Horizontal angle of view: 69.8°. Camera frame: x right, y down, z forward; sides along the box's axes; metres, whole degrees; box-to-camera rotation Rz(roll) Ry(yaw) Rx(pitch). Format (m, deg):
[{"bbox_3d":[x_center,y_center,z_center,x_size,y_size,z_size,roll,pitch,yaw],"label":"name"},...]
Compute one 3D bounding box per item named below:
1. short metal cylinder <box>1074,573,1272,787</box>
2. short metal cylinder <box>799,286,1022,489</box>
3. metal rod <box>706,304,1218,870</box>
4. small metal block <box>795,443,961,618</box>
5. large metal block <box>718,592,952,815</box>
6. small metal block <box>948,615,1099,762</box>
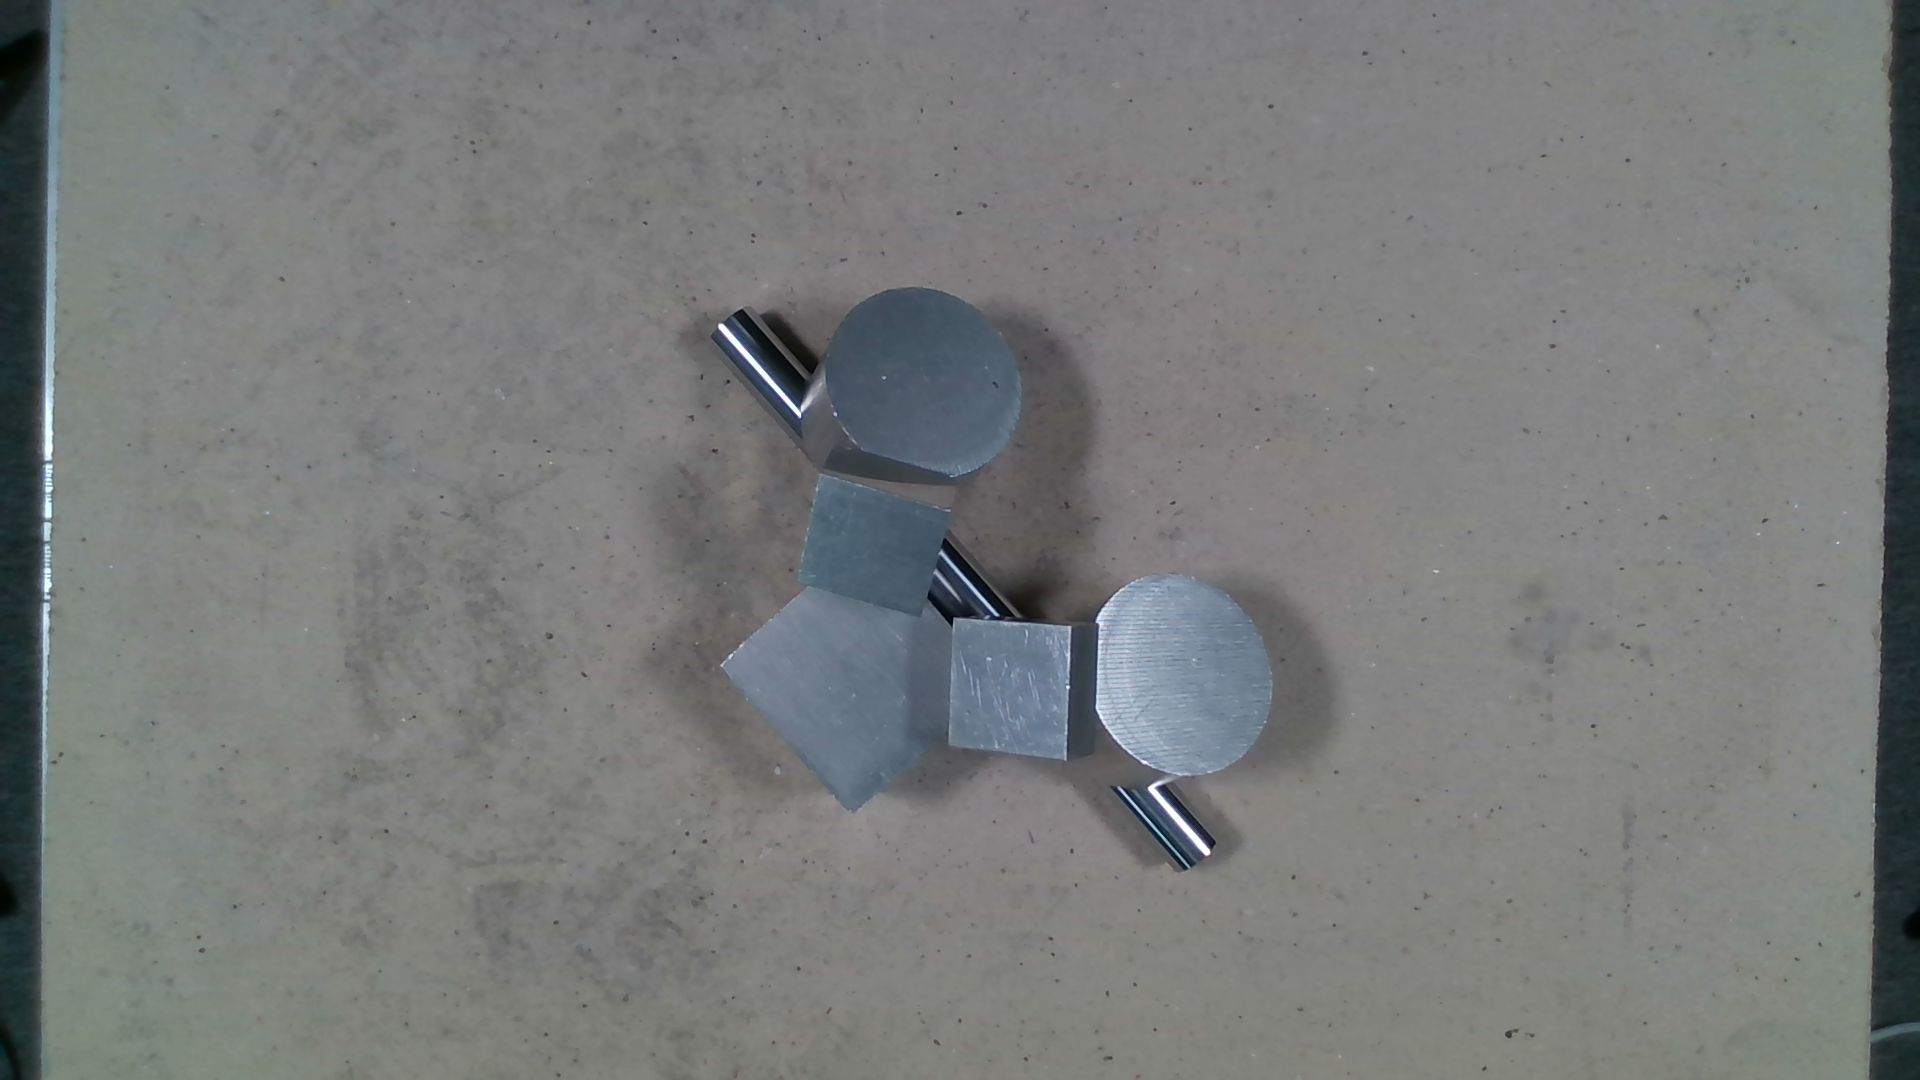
[{"bbox_3d":[0.079,0.058,0.560,0.080,0.050,0.080,5,73,-17],"label":"short metal cylinder"},{"bbox_3d":[-0.021,-0.056,0.560,0.080,0.050,0.080,5,73,-17],"label":"short metal cylinder"},{"bbox_3d":[0.001,0.020,0.587,0.025,0.025,0.300,-42,90,0],"label":"metal rod"},{"bbox_3d":[-0.031,-0.004,0.525,0.050,0.025,0.050,16,122,0],"label":"small metal block"},{"bbox_3d":[-0.040,0.053,0.573,0.080,0.050,0.080,-41,90,0],"label":"large metal block"},{"bbox_3d":[0.024,0.055,0.525,0.050,0.025,0.050,2,90,30],"label":"small metal block"}]
